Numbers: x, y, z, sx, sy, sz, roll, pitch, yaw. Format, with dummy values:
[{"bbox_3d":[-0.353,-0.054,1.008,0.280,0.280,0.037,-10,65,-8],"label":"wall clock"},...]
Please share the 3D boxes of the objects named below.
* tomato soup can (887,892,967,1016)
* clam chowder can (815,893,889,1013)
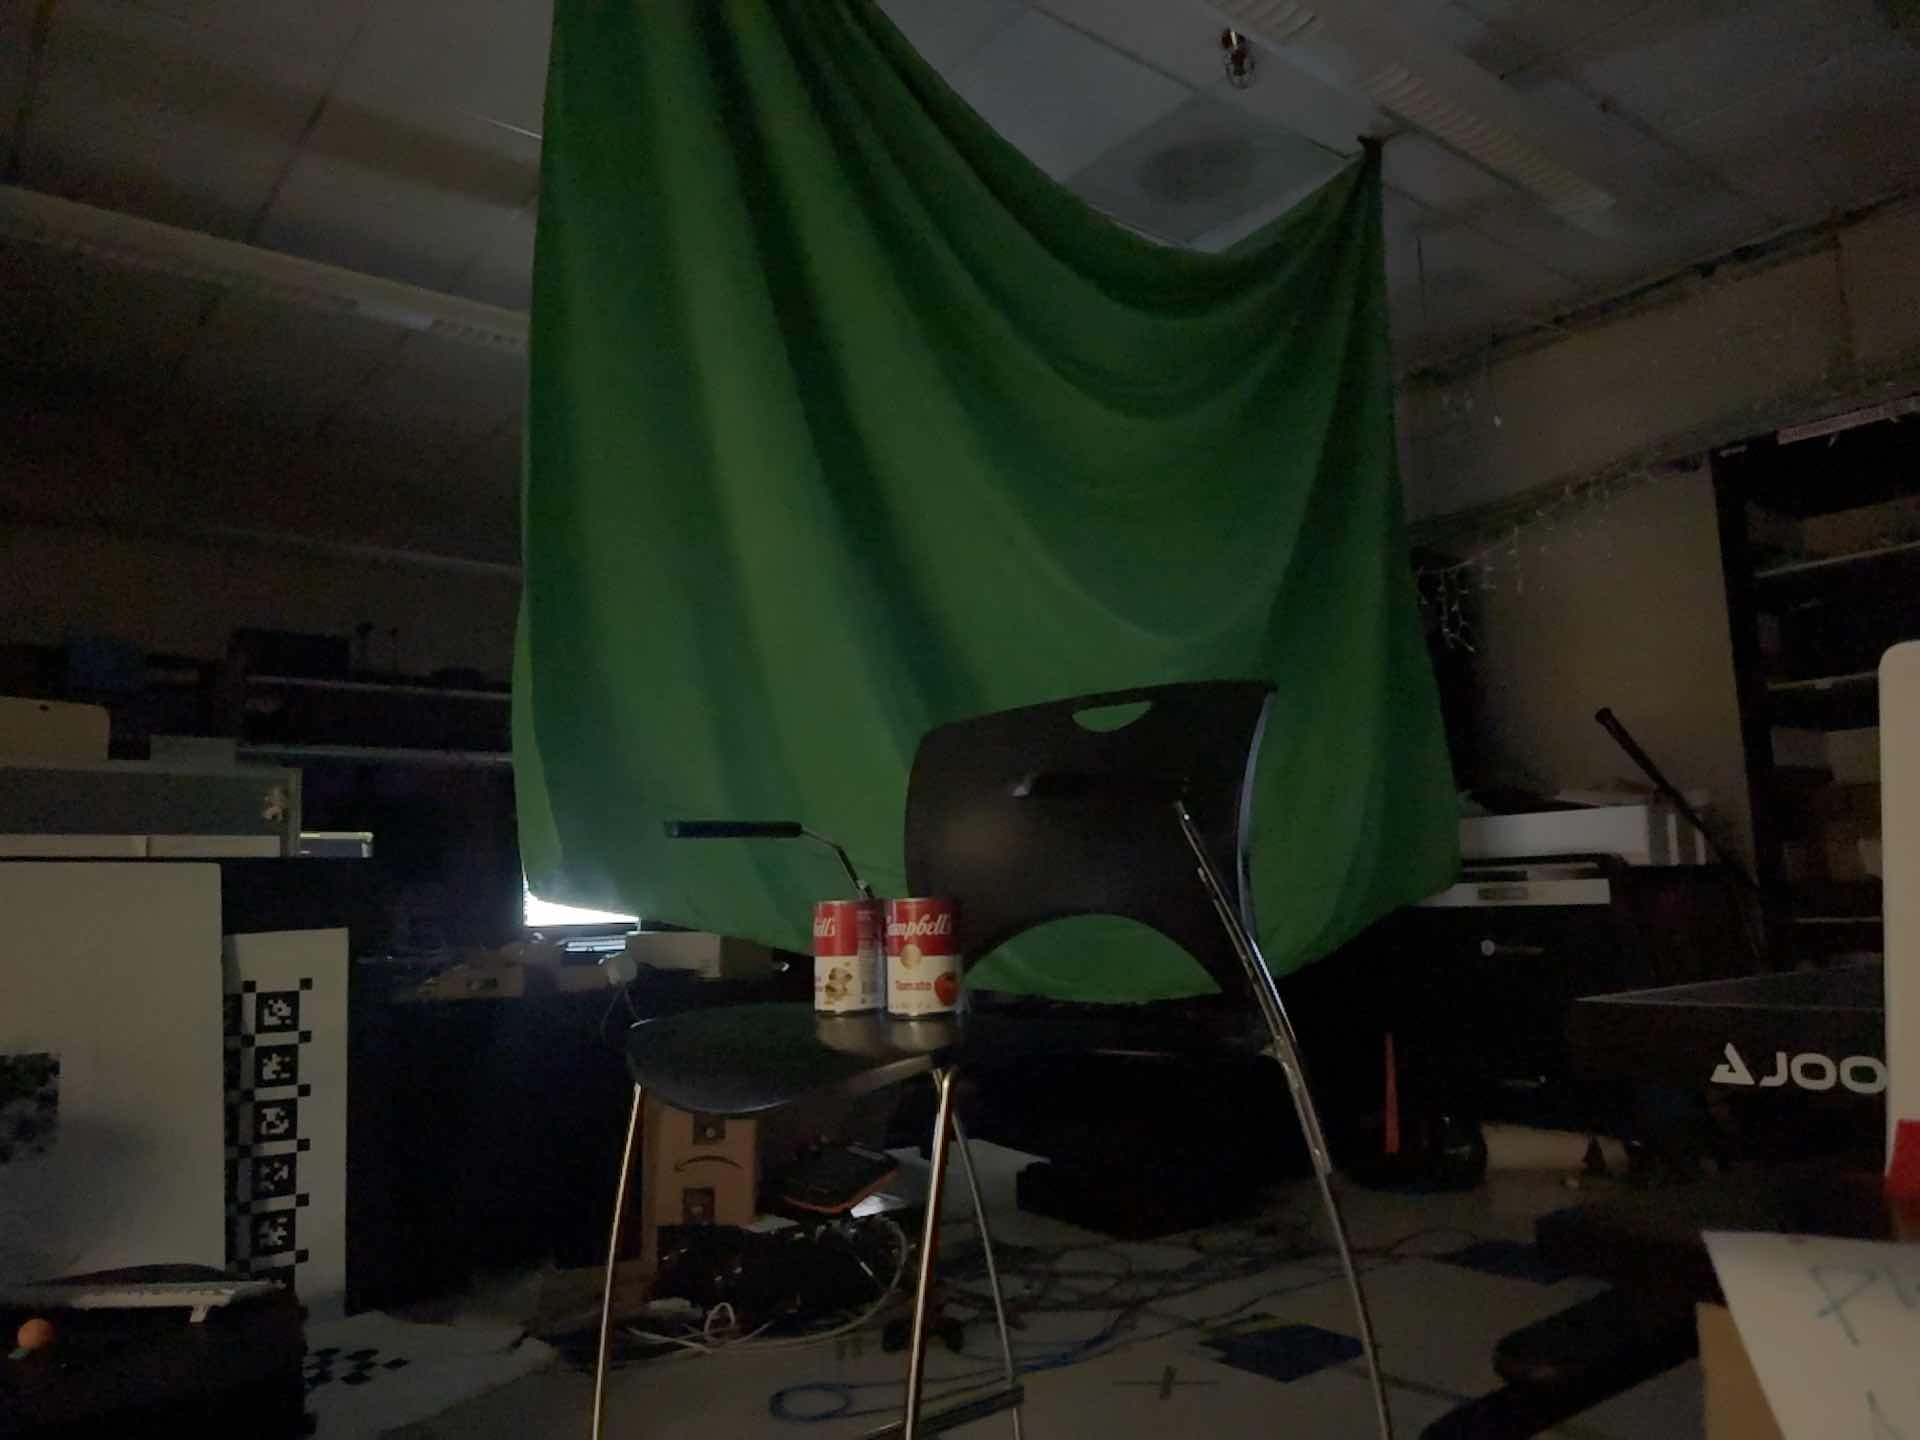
[{"bbox_3d":[-0.029,0.201,1.166,0.067,0.102,0.067,-1,-4,0],"label":"tomato soup can"},{"bbox_3d":[-0.099,0.213,1.239,0.068,0.102,0.068,-1,-3,0],"label":"clam chowder can"}]
